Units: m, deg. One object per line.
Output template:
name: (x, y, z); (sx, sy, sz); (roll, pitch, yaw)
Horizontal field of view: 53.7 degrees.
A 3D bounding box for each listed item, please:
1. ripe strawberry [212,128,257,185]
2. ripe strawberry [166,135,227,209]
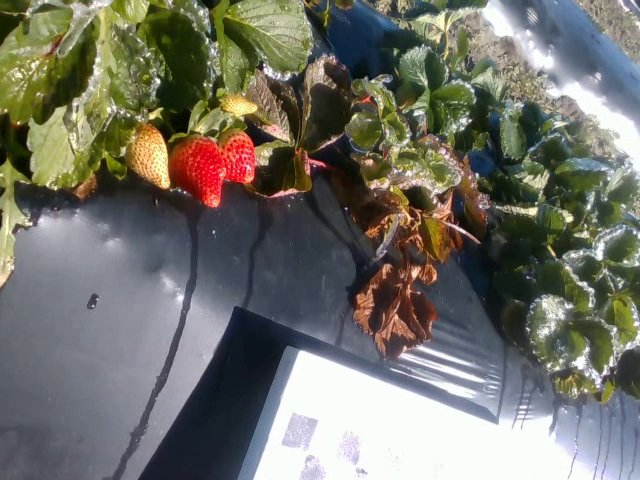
ripe strawberry: (-0.056, -0.055, 0.423); (0.036, 0.041, 0.030); (-44, 20, -24)
ripe strawberry: (-0.073, -0.038, 0.391); (0.036, 0.052, 0.040); (-18, -25, -32)
